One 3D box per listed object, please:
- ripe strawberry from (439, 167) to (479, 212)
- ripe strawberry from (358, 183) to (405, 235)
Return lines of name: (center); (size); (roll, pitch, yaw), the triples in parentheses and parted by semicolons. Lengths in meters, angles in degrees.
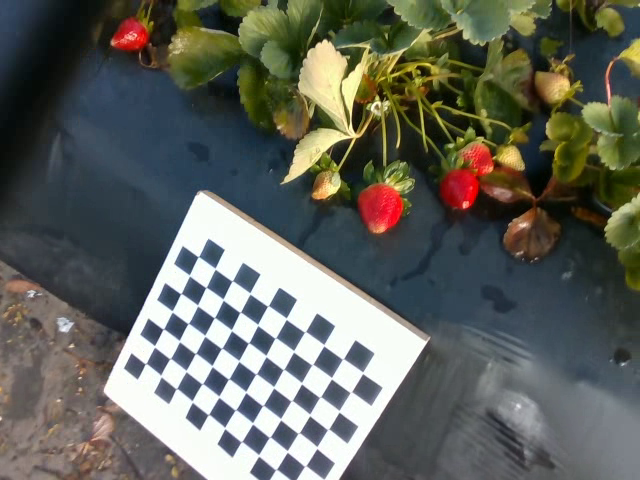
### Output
ripe strawberry: (0.140, -0.047, 0.693); (0.044, 0.041, 0.055); (-35, 29, 23)
ripe strawberry: (0.056, -0.030, 0.688); (0.050, 0.050, 0.065); (-9, 36, 26)
